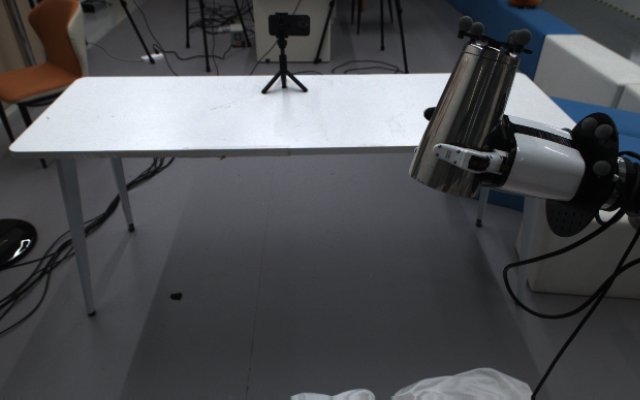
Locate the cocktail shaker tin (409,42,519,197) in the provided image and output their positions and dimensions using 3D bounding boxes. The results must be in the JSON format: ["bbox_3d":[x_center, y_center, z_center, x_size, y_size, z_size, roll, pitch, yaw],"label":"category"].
[{"bbox_3d":[0.181,-0.100,0.597,0.093,0.170,0.093,14,20,-5],"label":"cocktail shaker tin"}]
